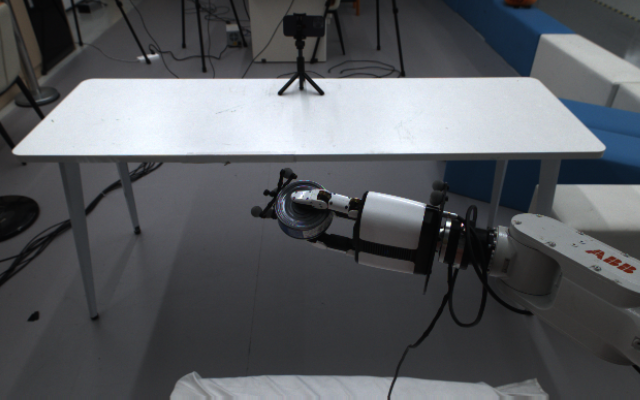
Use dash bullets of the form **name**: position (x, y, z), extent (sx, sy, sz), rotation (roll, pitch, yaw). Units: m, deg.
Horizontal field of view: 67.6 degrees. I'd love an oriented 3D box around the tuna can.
- **tuna can**: position (-0.021, 0.018, 0.715), extent (0.085, 0.034, 0.085), rotation (-1, 62, 1)
